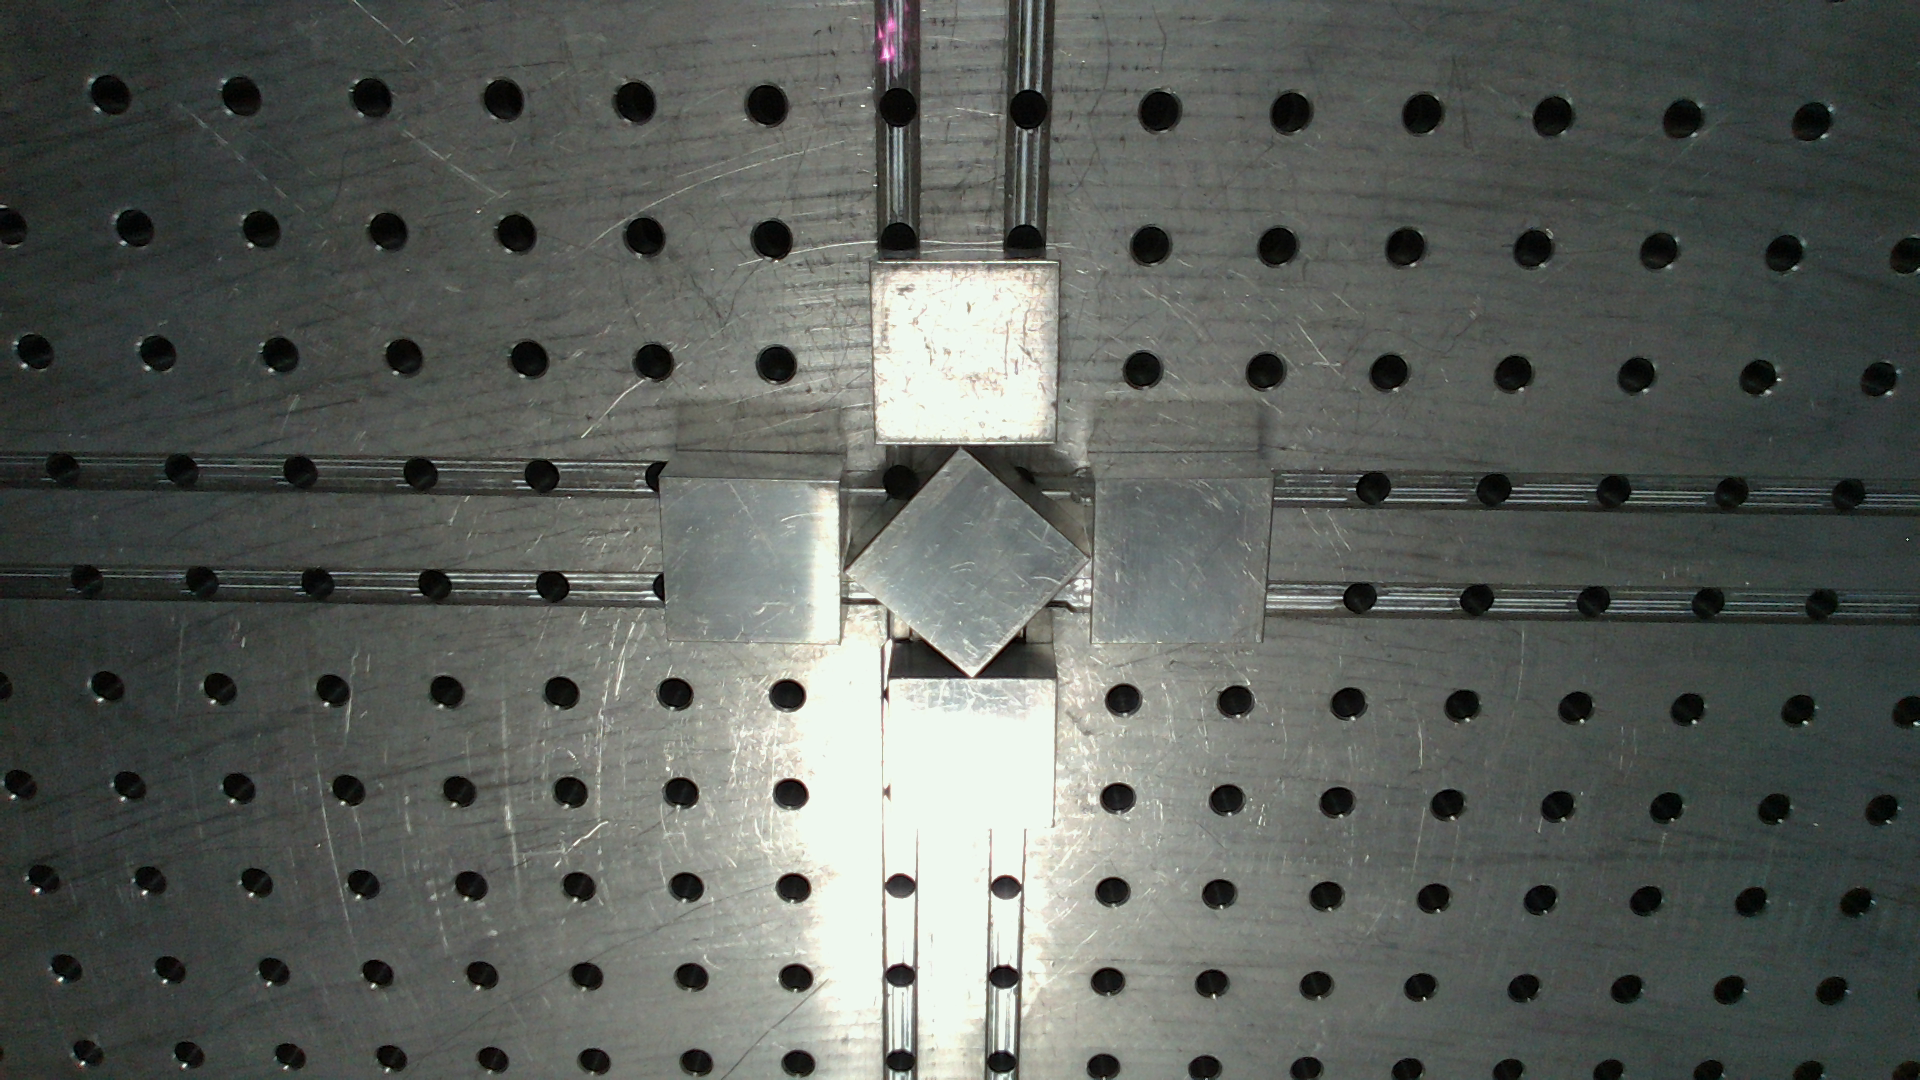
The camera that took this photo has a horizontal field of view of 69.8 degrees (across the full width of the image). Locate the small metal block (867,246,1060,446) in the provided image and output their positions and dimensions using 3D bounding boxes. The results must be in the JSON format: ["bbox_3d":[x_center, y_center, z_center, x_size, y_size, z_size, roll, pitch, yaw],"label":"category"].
[{"bbox_3d":[0.001,-0.054,0.377,0.050,0.025,0.050,-1,110,0],"label":"small metal block"}]

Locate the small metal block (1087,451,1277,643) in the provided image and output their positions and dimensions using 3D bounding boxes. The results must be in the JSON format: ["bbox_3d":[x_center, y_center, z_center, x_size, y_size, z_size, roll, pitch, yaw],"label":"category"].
[{"bbox_3d":[0.062,0.002,0.397,0.050,0.025,0.050,0,110,0],"label":"small metal block"}]

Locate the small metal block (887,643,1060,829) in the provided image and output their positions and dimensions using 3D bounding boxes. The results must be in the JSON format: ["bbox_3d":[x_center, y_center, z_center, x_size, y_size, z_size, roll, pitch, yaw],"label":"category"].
[{"bbox_3d":[0.004,0.059,0.418,0.050,0.025,0.050,0,110,0],"label":"small metal block"}]

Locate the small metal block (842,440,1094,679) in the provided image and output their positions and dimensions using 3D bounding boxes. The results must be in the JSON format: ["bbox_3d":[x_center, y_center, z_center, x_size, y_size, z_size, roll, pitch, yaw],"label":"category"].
[{"bbox_3d":[0.002,0.003,0.397,0.050,0.025,0.050,40,105,-14],"label":"small metal block"}]

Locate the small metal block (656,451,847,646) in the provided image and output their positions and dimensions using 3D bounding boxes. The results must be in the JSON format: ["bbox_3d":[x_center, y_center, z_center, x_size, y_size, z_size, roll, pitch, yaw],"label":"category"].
[{"bbox_3d":[-0.059,0.002,0.397,0.050,0.025,0.050,1,110,-1],"label":"small metal block"}]
